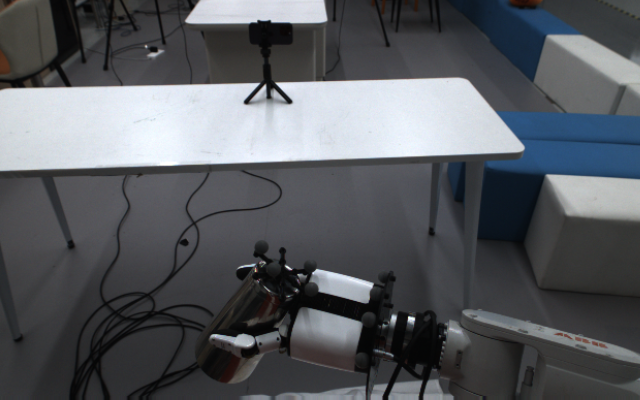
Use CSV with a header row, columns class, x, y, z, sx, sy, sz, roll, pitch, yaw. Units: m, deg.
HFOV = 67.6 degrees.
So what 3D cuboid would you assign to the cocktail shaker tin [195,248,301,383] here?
class,x,y,z,sx,sy,sz,roll,pitch,yaw
cocktail shaker tin,-0.093,0.153,0.645,0.093,0.170,0.093,26,32,-17
